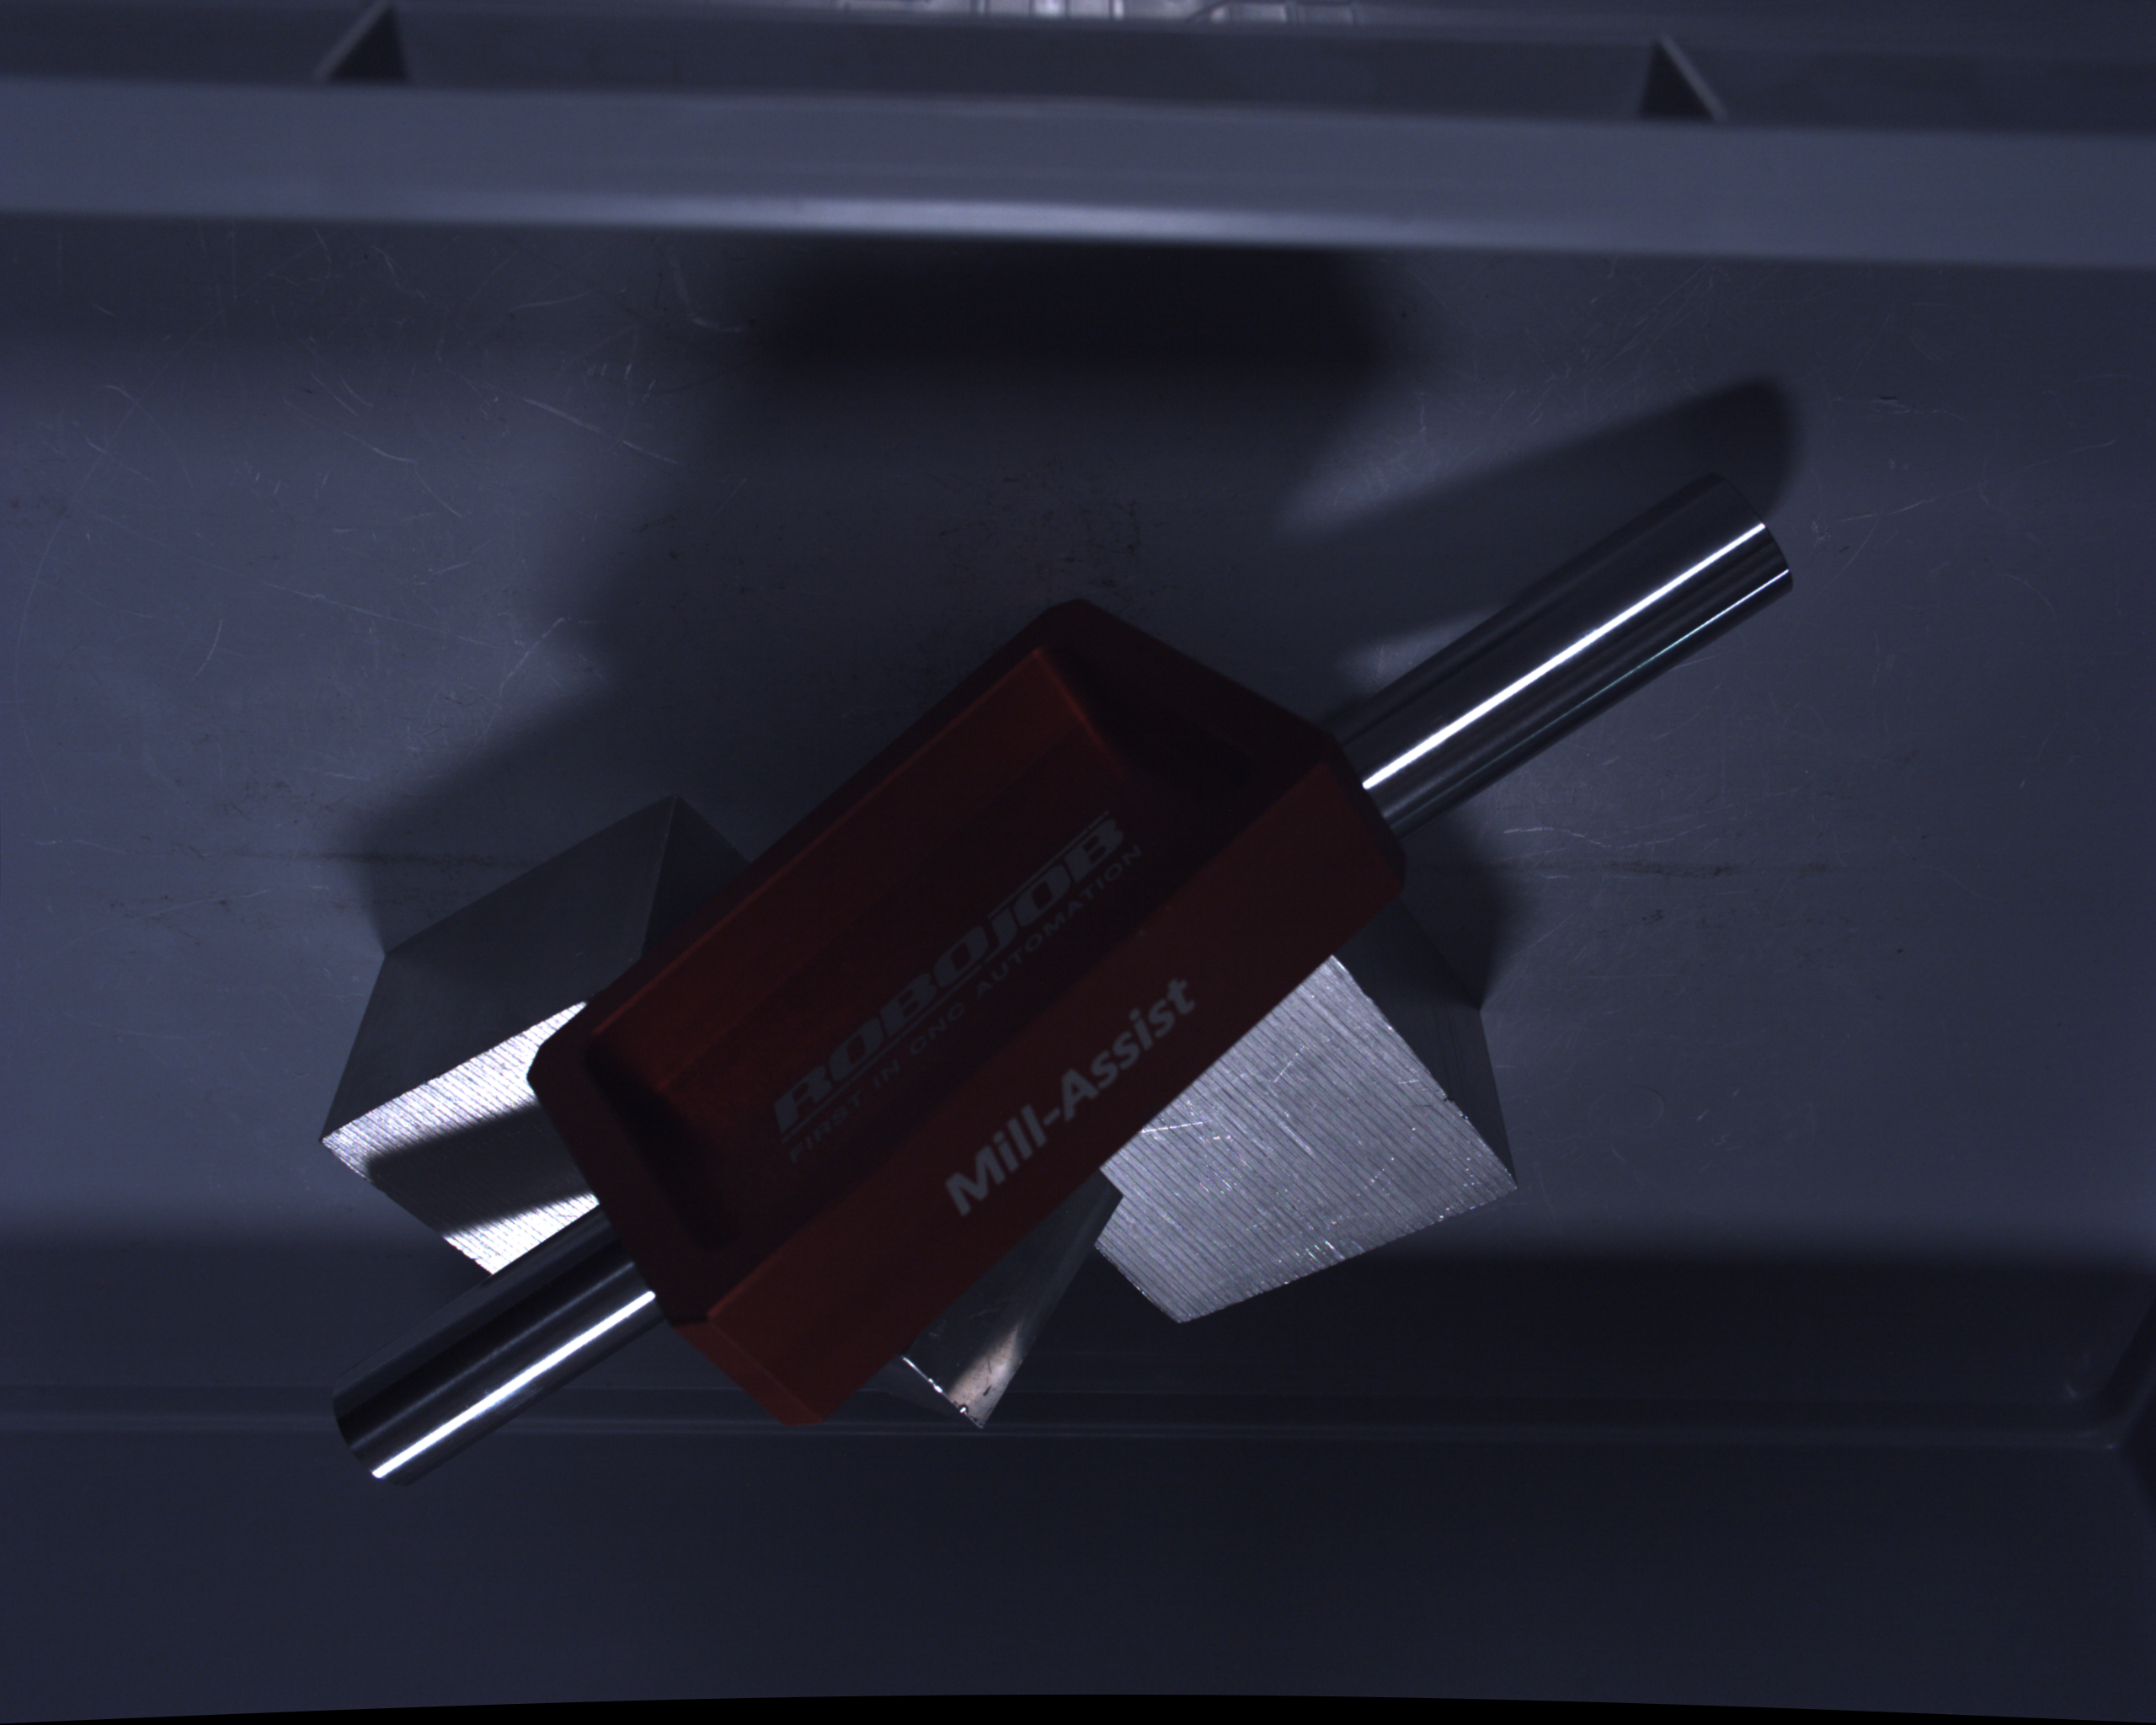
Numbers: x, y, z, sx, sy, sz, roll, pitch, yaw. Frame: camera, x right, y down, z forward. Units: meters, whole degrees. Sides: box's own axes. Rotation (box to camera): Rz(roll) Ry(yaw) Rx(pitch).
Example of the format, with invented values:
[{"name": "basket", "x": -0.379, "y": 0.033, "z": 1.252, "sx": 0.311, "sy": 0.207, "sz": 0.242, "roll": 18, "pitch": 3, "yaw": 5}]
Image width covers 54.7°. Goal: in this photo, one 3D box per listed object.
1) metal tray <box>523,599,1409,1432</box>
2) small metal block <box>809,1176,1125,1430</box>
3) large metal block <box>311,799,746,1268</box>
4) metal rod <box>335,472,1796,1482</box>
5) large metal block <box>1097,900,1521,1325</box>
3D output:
[{"name": "metal tray", "x": -0.022, "y": 0.019, "z": 0.345, "sx": 0.130, "sy": 0.090, "sz": 0.030, "roll": -42, "pitch": 126, "yaw": -8}, {"name": "small metal block", "x": -0.028, "y": 0.071, "z": 0.387, "sx": 0.050, "sy": 0.050, "sz": 0.025, "roll": 6, "pitch": 143, "yaw": 46}, {"name": "large metal block", "x": -0.091, "y": 0.046, "z": 0.426, "sx": 0.080, "sy": 0.050, "sz": 0.080, "roll": -27, "pitch": 126, "yaw": 20}, {"name": "metal rod", "x": -0.007, "y": 0.024, "z": 0.379, "sx": 0.300, "sy": 0.025, "sz": 0.025, "roll": -33, "pitch": 124, "yaw": 7}, {"name": "large metal block", "x": 0.032, "y": 0.040, "z": 0.426, "sx": 0.080, "sy": 0.050, "sz": 0.080, "roll": -27, "pitch": 126, "yaw": 20}]
